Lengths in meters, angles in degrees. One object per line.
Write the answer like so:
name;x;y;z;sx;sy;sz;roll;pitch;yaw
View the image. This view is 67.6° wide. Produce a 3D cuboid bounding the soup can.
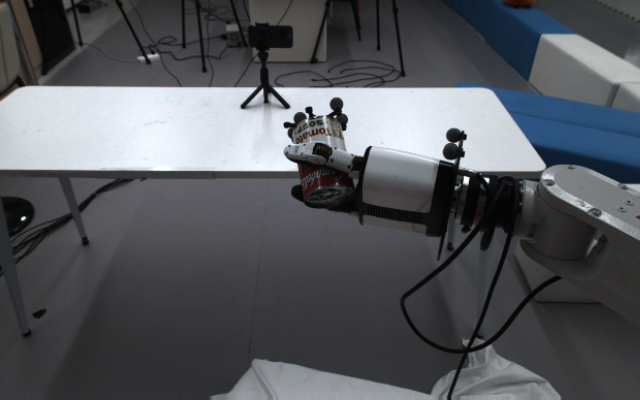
soup can;0.005;-0.048;0.625;0.067;0.067;0.101;-6;67;-12
